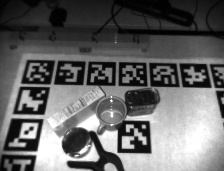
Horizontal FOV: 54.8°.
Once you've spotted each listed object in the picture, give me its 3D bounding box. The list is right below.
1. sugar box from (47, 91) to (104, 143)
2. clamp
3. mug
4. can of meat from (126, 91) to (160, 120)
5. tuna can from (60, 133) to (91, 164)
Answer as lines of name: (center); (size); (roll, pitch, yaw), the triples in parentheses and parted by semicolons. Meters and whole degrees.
sugar box: (-0.100, 0.095, 0.647); (0.177, 0.093, 0.045); (-35, 66, -18)
clamp: (-0.026, 0.235, 0.610); (0.164, 0.036, 0.122); (34, 63, 10)
mug: (-0.008, 0.107, 0.639); (0.093, 0.082, 0.117); (23, 67, 10)
can of meat: (0.093, 0.066, 0.670); (0.102, 0.084, 0.057); (-7, 62, -5)
tuna can: (-0.103, 0.184, 0.629); (0.086, 0.034, 0.085); (0, 65, 0)
